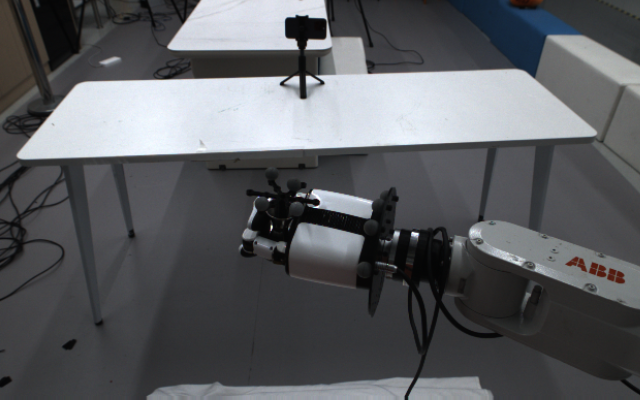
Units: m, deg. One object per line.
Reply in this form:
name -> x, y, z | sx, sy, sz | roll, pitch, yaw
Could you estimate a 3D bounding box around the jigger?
jigger -> -0.048, 0.040, 0.612 | 0.043, 0.071, 0.043 | 6, 32, -4
